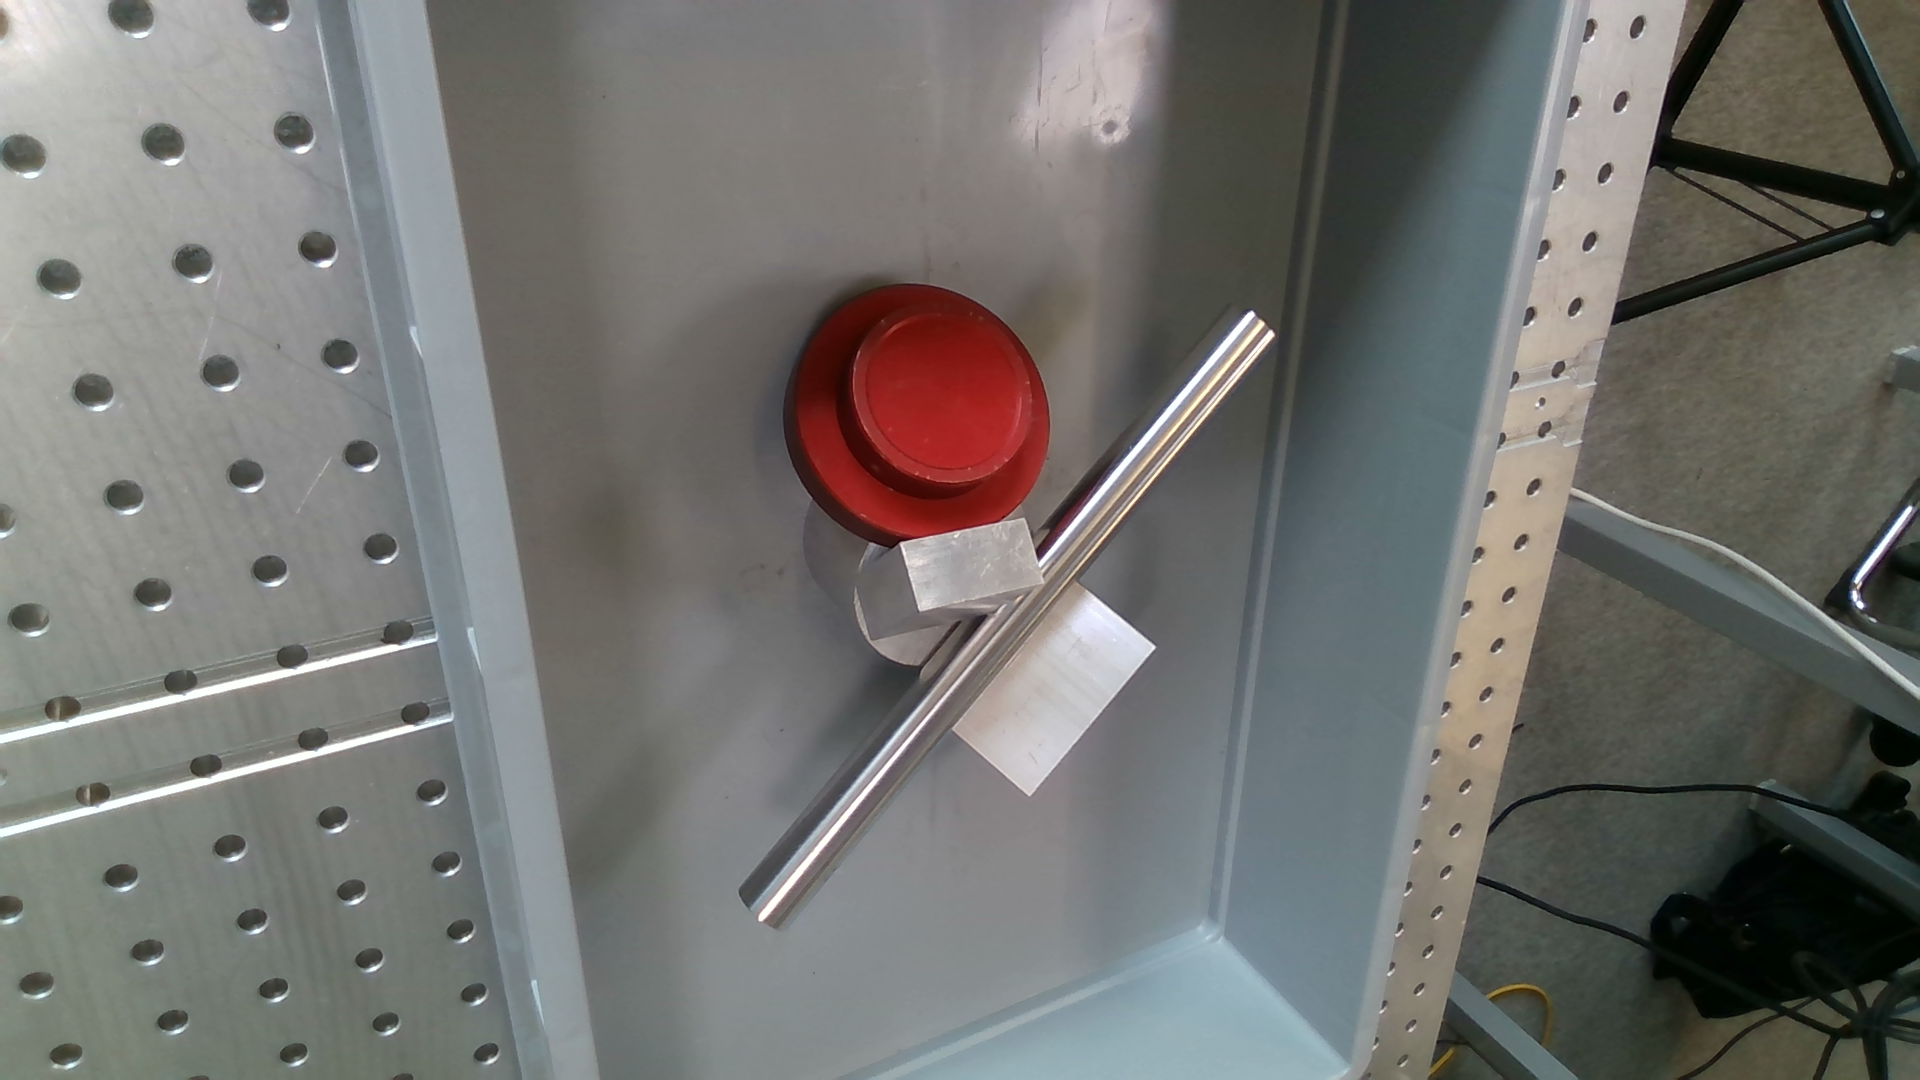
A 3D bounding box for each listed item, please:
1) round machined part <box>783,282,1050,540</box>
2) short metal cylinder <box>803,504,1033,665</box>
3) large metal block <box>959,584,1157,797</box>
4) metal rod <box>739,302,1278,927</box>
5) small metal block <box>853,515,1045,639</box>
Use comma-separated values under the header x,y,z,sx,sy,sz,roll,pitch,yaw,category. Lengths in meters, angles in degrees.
x,y,z,sx,sy,sz,roll,pitch,yaw,category
-0.012,-0.048,0.502,0.098,0.042,0.098,4,77,-18,round machined part
-0.016,0.003,0.555,0.080,0.050,0.080,-14,122,-25,short metal cylinder
0.039,0.059,0.592,0.080,0.050,0.080,-51,172,2,large metal block
0.019,0.030,0.543,0.300,0.025,0.025,-50,129,1,metal rod
-0.005,0.014,0.501,0.050,0.050,0.025,-11,80,-26,small metal block
